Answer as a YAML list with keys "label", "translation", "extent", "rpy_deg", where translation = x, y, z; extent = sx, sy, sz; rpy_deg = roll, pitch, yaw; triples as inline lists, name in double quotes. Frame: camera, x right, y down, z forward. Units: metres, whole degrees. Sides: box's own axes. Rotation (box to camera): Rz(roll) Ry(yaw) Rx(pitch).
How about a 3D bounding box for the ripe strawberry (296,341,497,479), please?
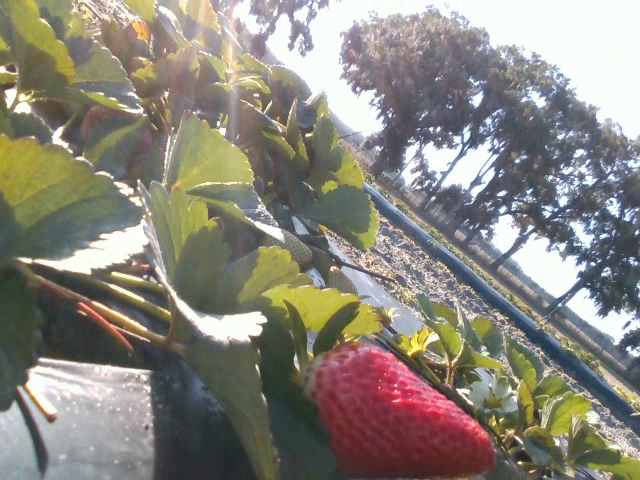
- label: "ripe strawberry"
  translation: [0.026, 0.058, 0.192]
  extent: [0.072, 0.055, 0.057]
  rpy_deg: [21, 49, 17]
